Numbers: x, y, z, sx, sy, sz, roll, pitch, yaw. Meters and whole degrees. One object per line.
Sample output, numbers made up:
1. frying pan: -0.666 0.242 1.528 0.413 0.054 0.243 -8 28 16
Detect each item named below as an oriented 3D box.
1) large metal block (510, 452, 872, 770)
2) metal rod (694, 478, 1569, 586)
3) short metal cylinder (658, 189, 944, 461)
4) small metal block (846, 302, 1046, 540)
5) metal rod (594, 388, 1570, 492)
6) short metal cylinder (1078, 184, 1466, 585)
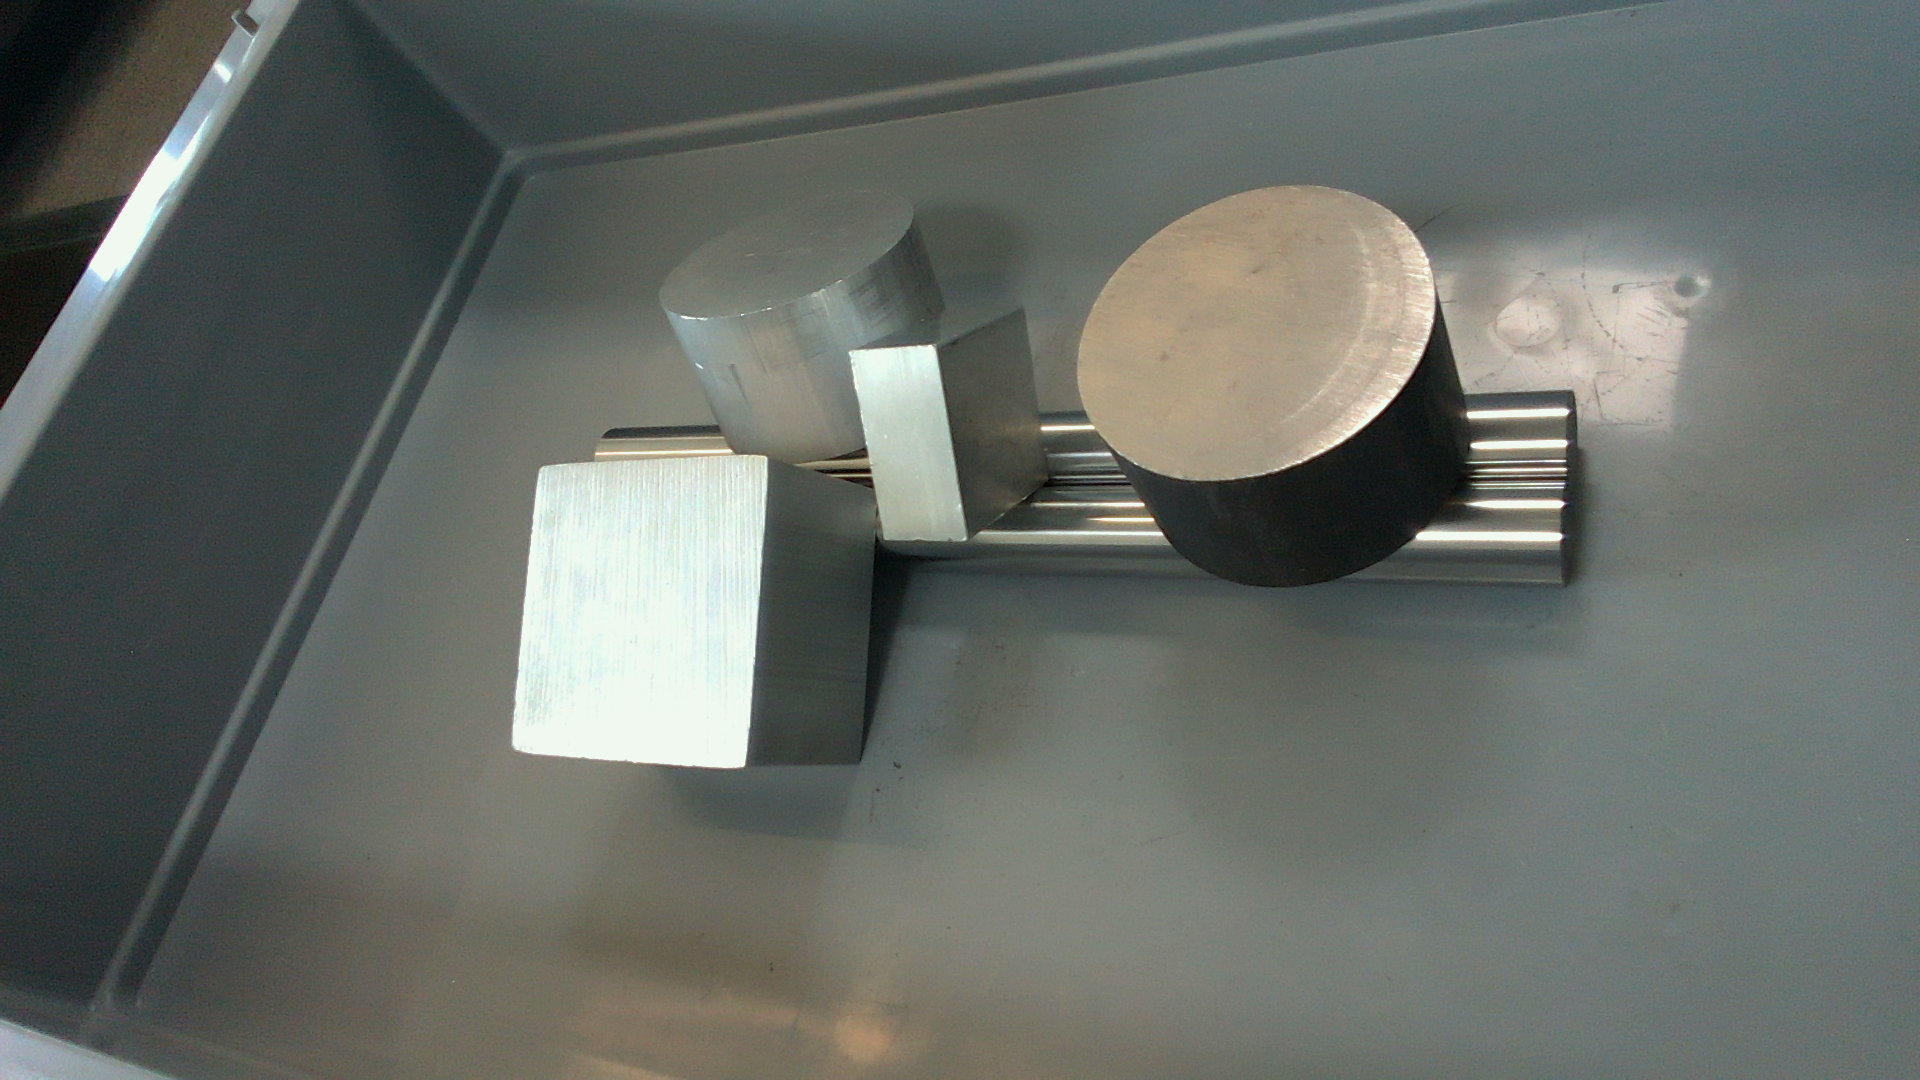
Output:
1. large metal block: -0.074 0.021 0.385 0.080 0.050 0.080 -1 81 28
2. metal rod: 0.009 -0.003 0.390 0.299 0.025 0.025 1 62 29
3. short metal cylinder: -0.045 -0.067 0.423 0.080 0.050 0.080 -14 33 9
4. small metal block: -0.002 -0.032 0.360 0.025 0.050 0.050 1 20 29
5. metal rod: 0.014 -0.025 0.400 0.299 0.025 0.025 1 62 29
6. short metal cylinder: 0.074 -0.036 0.326 0.080 0.050 0.080 -13 56 21
